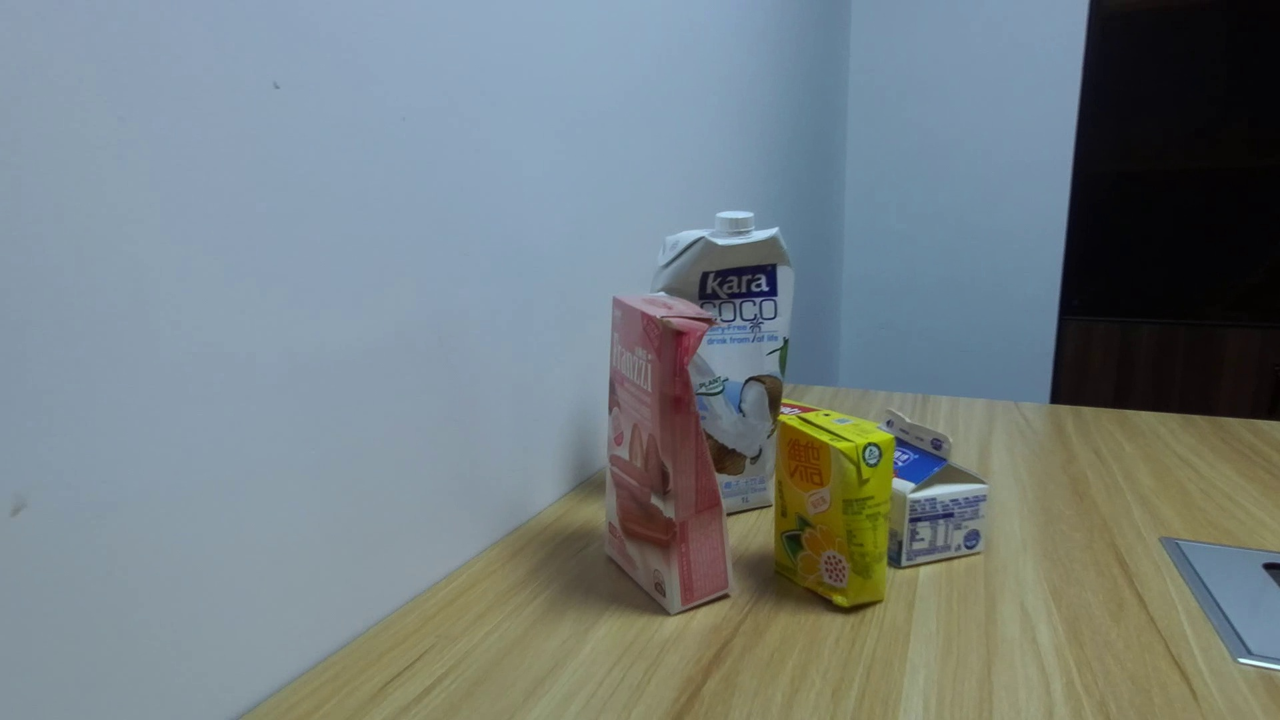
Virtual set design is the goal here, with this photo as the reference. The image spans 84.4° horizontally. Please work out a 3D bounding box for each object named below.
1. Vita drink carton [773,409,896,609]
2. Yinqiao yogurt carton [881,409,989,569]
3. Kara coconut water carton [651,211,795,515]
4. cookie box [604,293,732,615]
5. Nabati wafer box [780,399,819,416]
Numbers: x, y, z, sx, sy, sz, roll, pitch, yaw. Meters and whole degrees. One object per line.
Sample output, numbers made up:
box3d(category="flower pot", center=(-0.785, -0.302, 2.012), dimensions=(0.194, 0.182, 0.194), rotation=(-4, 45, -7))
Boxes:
box3d(category="Vita drink carton", center=(0.121, 0.093, 0.439), dimensions=(0.043, 0.109, 0.076), rotation=(-6, 13, -22))
box3d(category="Yinqiao yogurt carton", center=(0.195, 0.087, 0.507), dimensions=(0.074, 0.092, 0.075), rotation=(-4, 13, -19))
box3d(category="Kara coconut water carton", center=(0.066, 0.003, 0.566), dimensions=(0.115, 0.238, 0.069), rotation=(-6, 15, -24))
box3d(category="cookie box", center=(0.018, 0.055, 0.448), dimensions=(0.056, 0.184, 0.118), rotation=(-4, 12, -20))
box3d(category="Nabati wafer box", center=(0.171, 0.078, 0.696), dimensions=(0.093, 0.042, 0.202), rotation=(-6, 12, -33))
